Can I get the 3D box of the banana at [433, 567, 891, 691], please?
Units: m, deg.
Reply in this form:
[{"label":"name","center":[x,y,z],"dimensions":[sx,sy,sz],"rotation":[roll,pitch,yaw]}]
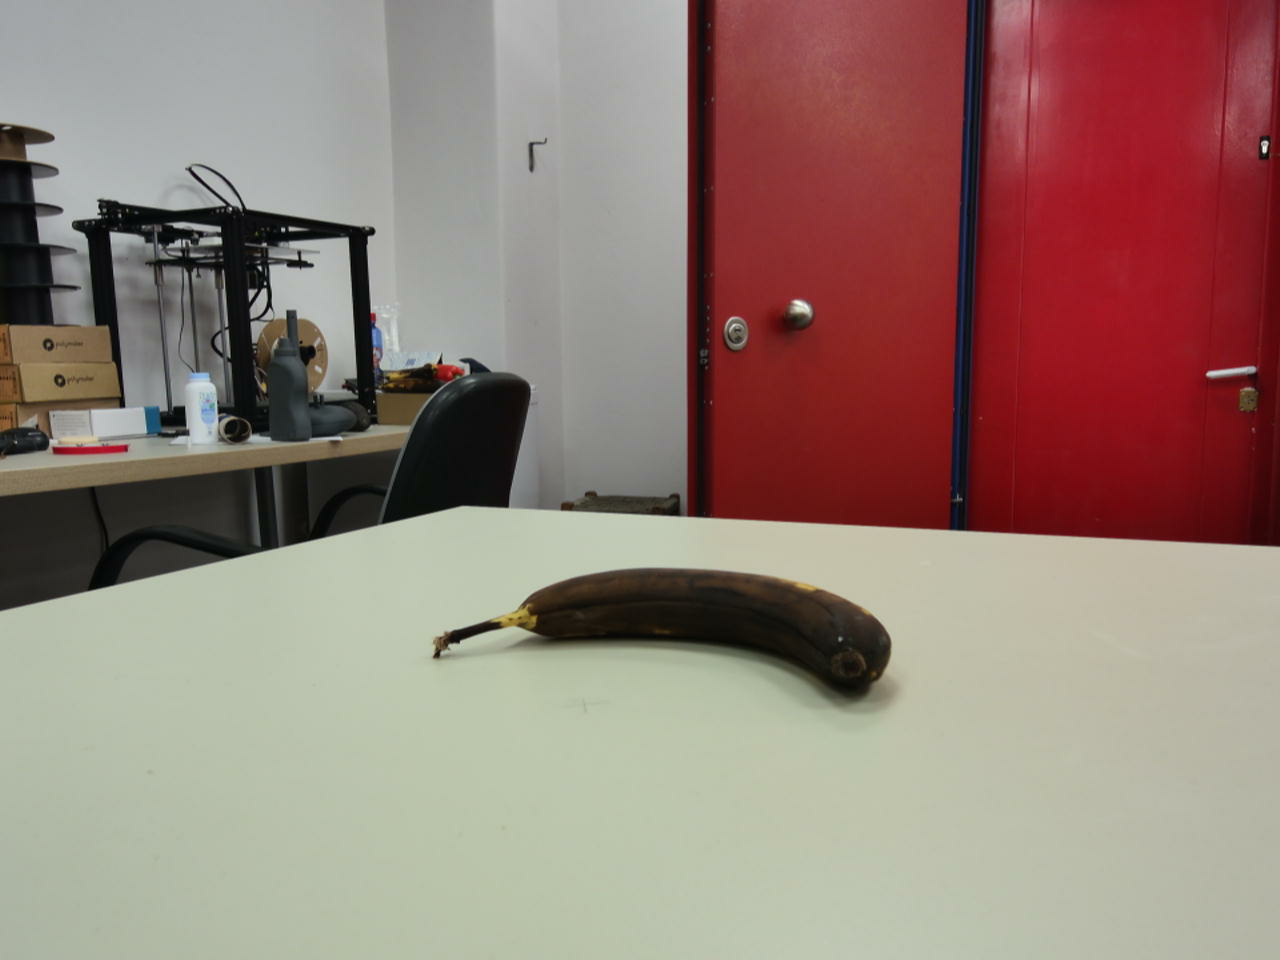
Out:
[{"label":"banana","center":[0.016,0.058,0.426],"dimensions":[0.188,0.033,0.091],"rotation":[2,4,26]}]
